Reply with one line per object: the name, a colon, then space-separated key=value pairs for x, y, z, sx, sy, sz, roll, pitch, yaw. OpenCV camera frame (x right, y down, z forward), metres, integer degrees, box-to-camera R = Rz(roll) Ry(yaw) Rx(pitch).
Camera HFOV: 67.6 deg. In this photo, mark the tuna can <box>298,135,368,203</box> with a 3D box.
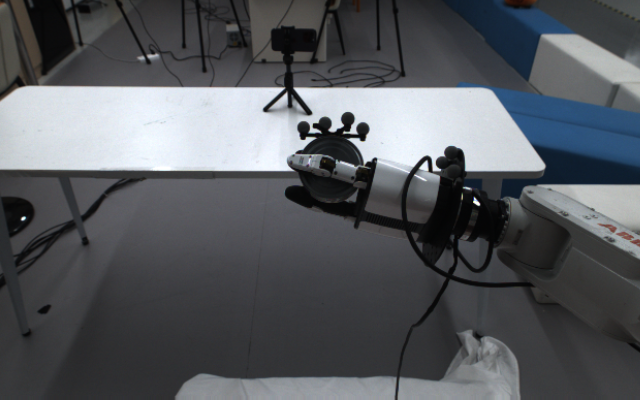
tuna can: x=0.014 y=-0.040 z=0.638 sx=0.085 sy=0.034 sz=0.085 roll=-1 pitch=75 yaw=4
